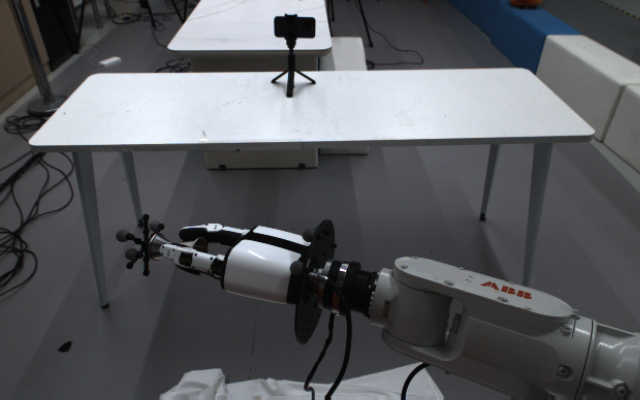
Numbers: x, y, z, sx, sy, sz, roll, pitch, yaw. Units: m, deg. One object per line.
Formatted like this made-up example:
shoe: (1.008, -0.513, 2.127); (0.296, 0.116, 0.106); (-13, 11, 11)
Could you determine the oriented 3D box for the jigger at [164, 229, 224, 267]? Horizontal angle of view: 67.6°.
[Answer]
jigger: (-0.187, 0.064, 0.667); (0.071, 0.043, 0.043); (5, 34, 16)
